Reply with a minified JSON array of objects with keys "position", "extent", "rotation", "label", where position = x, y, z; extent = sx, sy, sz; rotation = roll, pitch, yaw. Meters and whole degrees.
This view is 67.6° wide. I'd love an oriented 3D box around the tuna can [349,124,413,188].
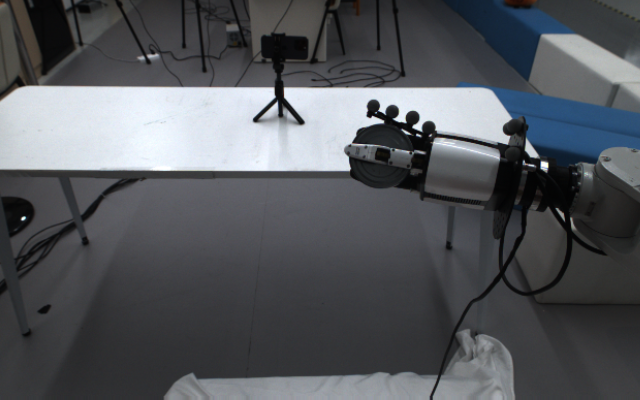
[{"position":[0.086,-0.058,0.651],"extent":[0.085,0.085,0.034],"rotation":[13,3,15],"label":"tuna can"}]
